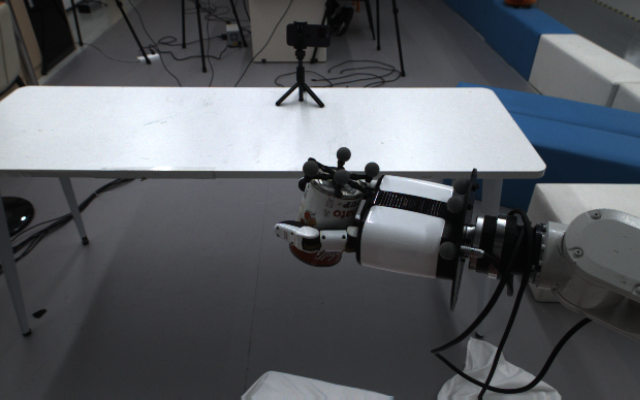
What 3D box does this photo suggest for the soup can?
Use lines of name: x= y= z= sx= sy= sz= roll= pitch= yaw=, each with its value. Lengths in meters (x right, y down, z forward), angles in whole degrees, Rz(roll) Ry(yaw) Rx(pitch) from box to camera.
soup can: x=0.009 y=0.020 z=0.573 sx=0.067 sy=0.101 sz=0.067 roll=13 pitch=30 yaw=-8
